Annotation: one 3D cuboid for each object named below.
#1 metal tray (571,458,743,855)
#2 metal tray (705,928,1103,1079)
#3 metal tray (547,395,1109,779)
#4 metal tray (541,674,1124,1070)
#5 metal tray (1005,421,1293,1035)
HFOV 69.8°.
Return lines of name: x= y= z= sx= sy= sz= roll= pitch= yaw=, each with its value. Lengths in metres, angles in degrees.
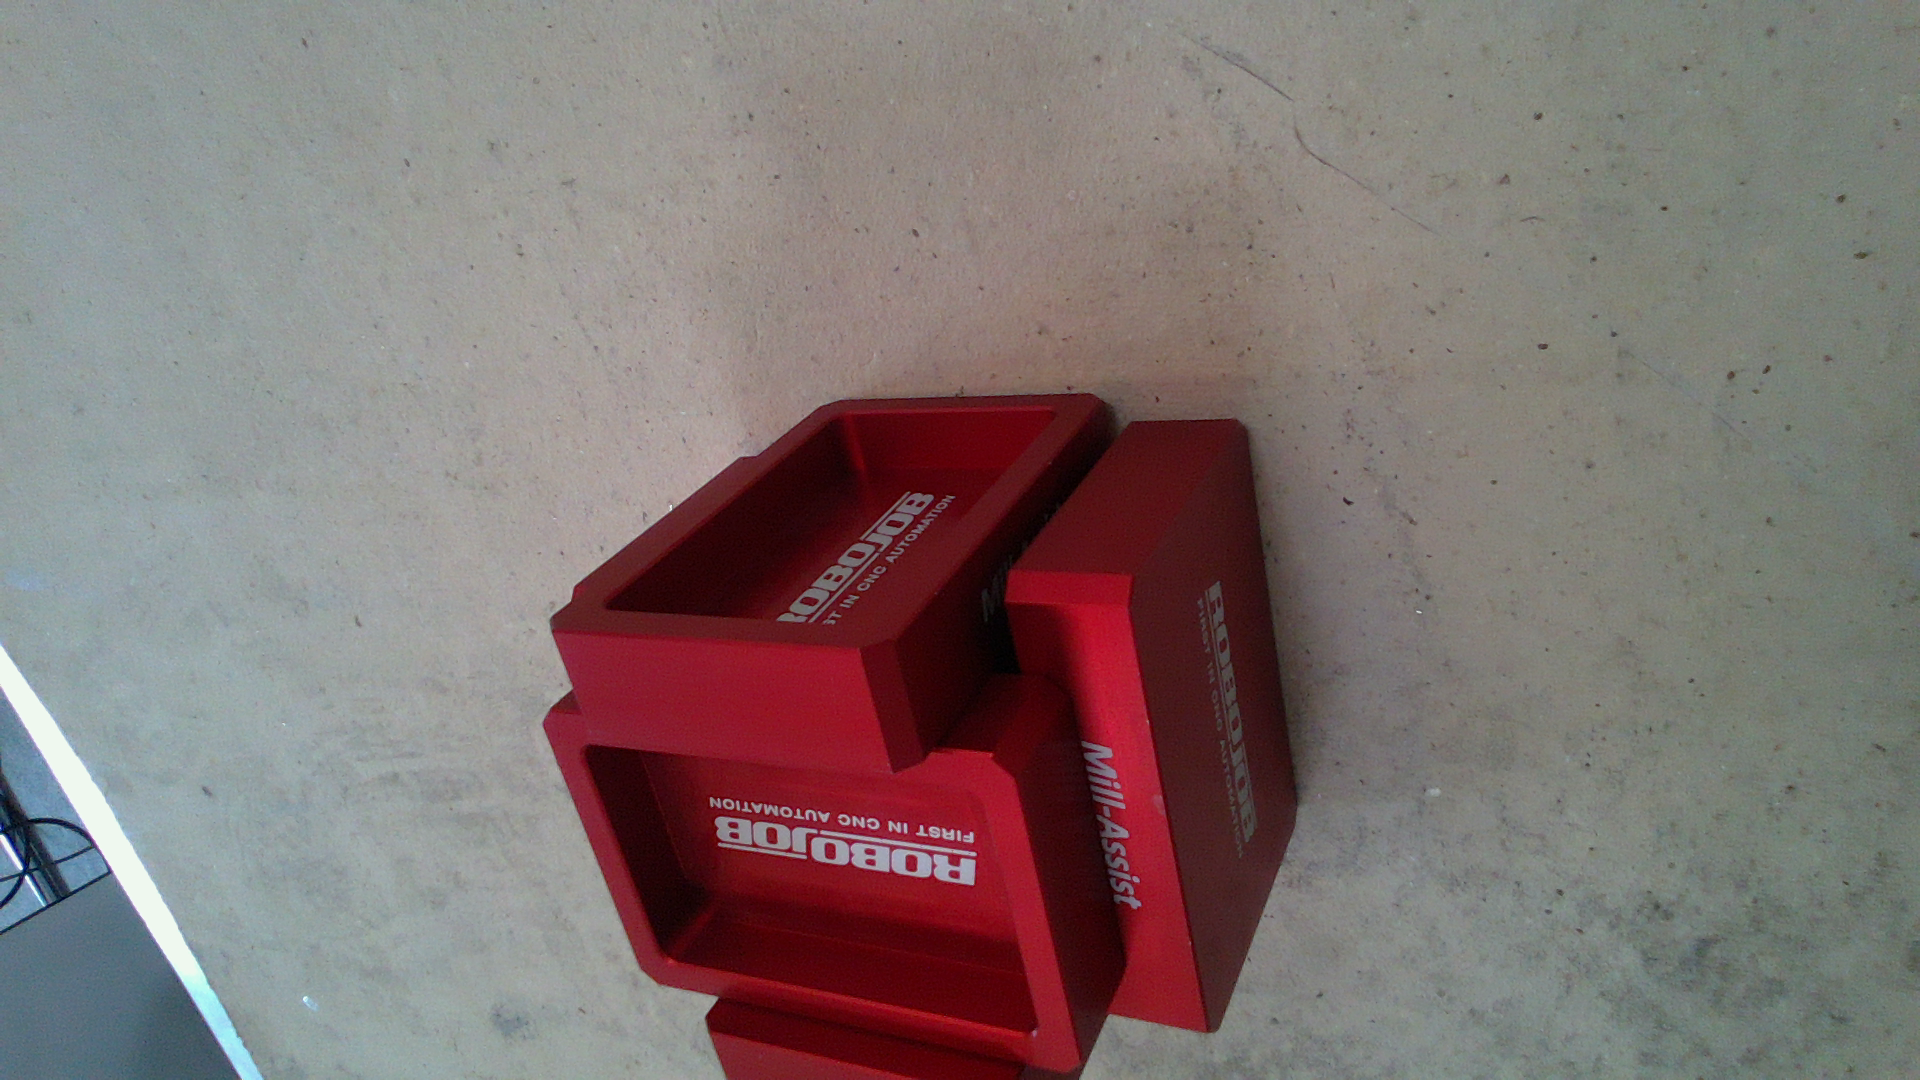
metal tray: x=-0.058 y=0.050 z=0.413 sx=0.030 sy=0.090 sz=0.130 roll=-1 pitch=118 yaw=28
metal tray: x=0.001 y=0.109 z=0.391 sx=0.090 sy=0.130 sz=0.030 roll=1 pitch=120 yaw=28
metal tray: x=-0.025 y=0.004 z=0.340 sx=0.090 sy=0.130 sz=0.030 roll=2 pitch=119 yaw=27
metal tray: x=-0.032 y=0.075 z=0.337 sx=0.130 sy=0.030 sz=0.090 roll=2 pitch=120 yaw=28
metal tray: x=0.054 y=0.046 z=0.350 sx=0.030 sy=0.090 sz=0.130 roll=2 pitch=118 yaw=28
